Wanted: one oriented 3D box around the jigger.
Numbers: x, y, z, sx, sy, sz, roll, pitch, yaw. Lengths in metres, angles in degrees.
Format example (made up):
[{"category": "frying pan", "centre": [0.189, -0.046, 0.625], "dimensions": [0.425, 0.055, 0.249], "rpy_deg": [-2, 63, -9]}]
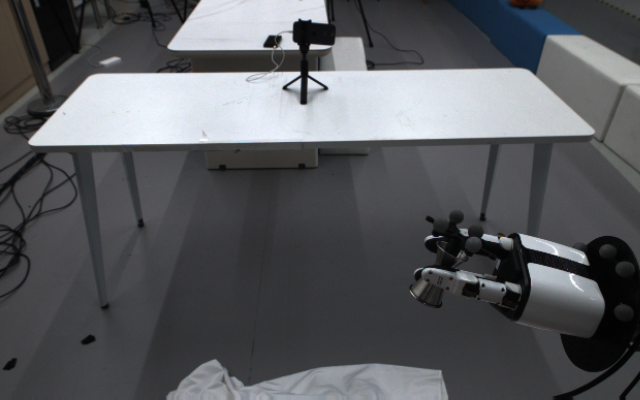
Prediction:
[{"category": "jigger", "centre": [0.138, 0.086, 0.569], "dimensions": [0.043, 0.071, 0.043], "rpy_deg": [23, 19, -8]}]
